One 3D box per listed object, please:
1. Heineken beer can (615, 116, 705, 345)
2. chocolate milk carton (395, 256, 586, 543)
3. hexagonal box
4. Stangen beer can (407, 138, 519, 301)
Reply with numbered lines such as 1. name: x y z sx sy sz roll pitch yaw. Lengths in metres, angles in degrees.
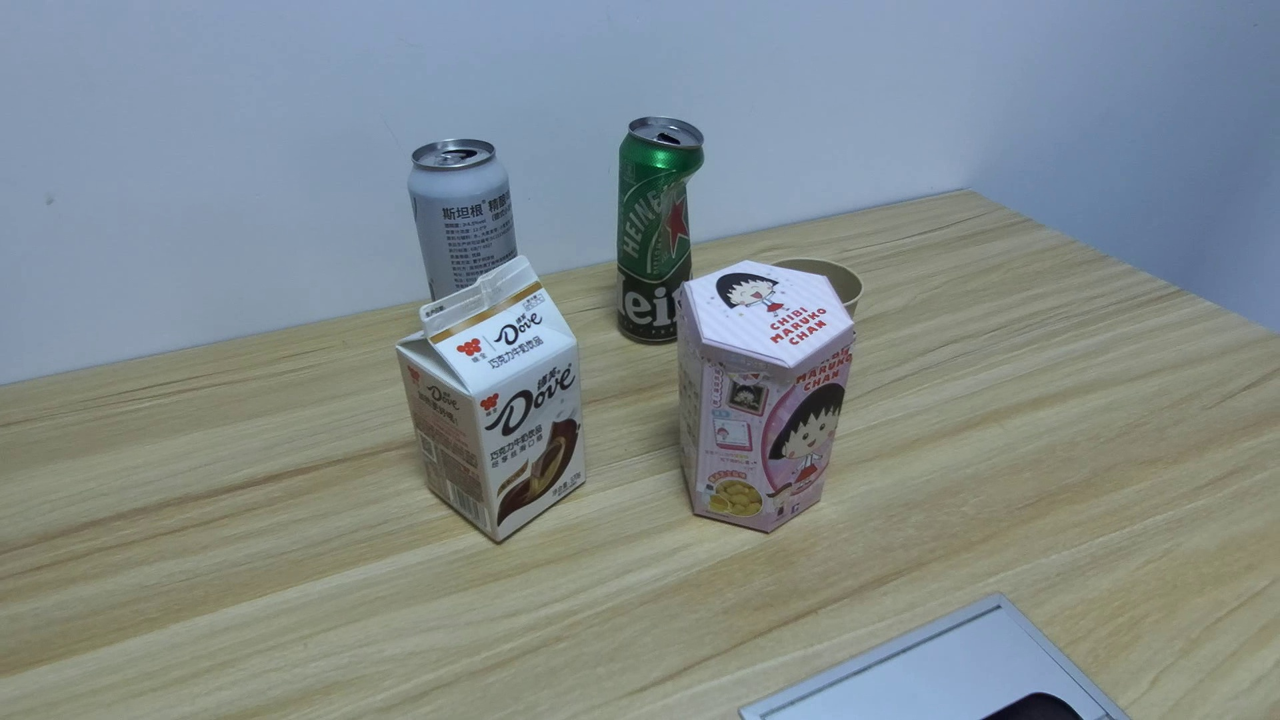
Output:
1. Heineken beer can: 0.016 -0.096 0.549 0.068 0.168 0.069 -13 40 -20
2. chocolate milk carton: -0.084 0.018 0.410 0.073 0.148 0.075 27 42 35
3. hexagonal box: 0.067 0.022 0.408 0.092 0.135 0.084 -23 42 -29
4. Stangen beer can: -0.121 -0.069 0.512 0.067 0.171 0.067 -1 36 1
